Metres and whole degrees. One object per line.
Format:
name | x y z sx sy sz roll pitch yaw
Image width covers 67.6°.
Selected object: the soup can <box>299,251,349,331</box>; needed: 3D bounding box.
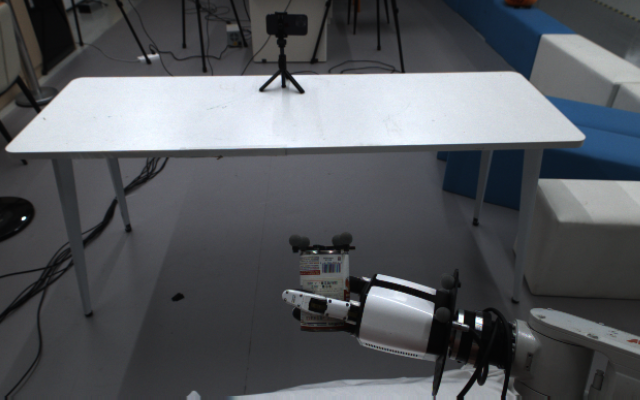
soup can | 0.008 0.120 0.640 0.067 0.101 0.067 -1 -9 0
